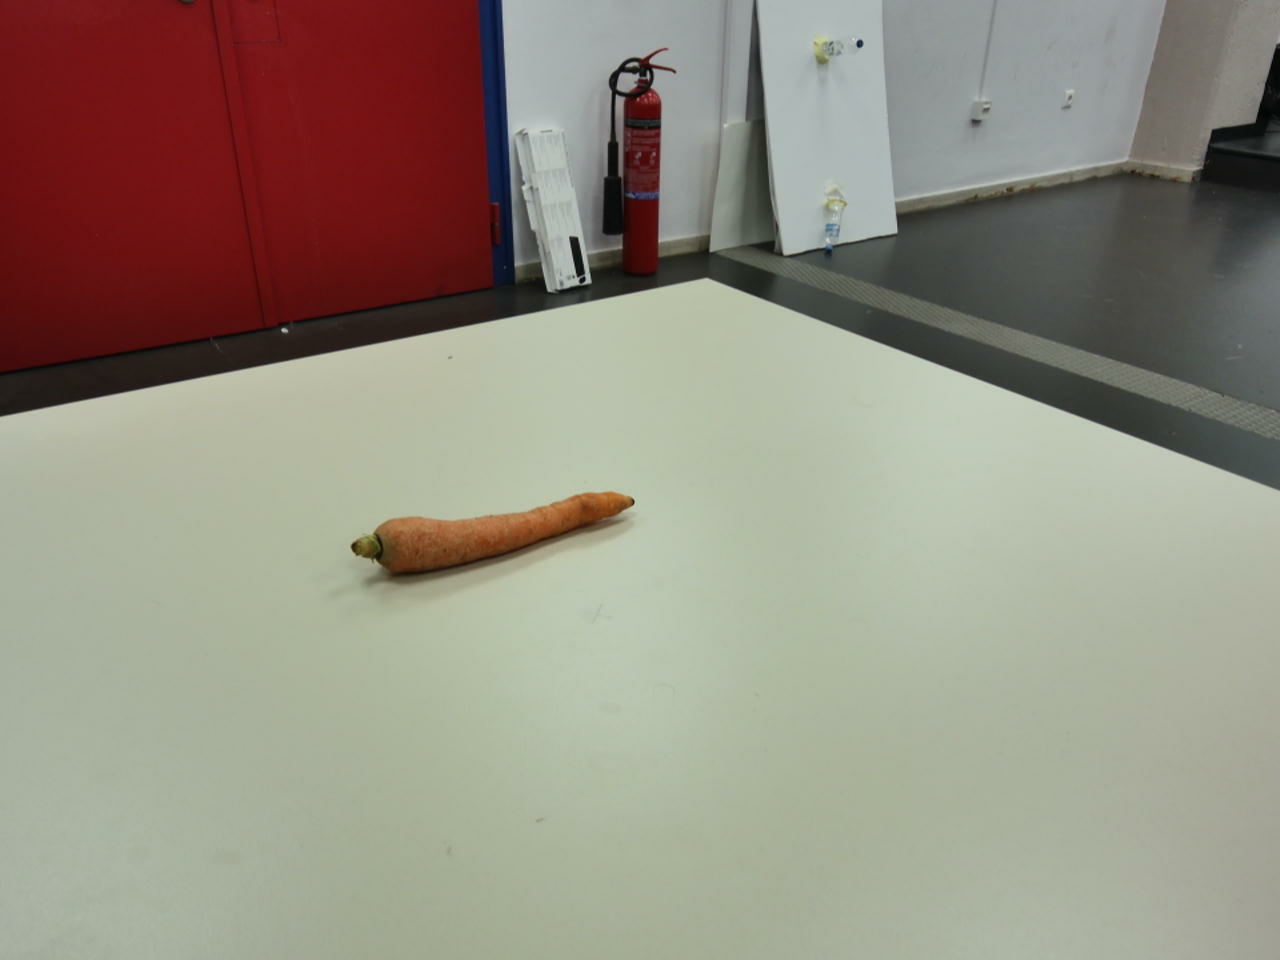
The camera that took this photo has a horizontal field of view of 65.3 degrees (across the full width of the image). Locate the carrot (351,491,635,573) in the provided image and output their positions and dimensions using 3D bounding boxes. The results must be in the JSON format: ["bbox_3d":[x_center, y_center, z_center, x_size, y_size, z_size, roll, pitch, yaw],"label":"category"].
[{"bbox_3d":[-0.076,0.025,0.567,0.173,0.032,0.030,-12,29,-25],"label":"carrot"}]
